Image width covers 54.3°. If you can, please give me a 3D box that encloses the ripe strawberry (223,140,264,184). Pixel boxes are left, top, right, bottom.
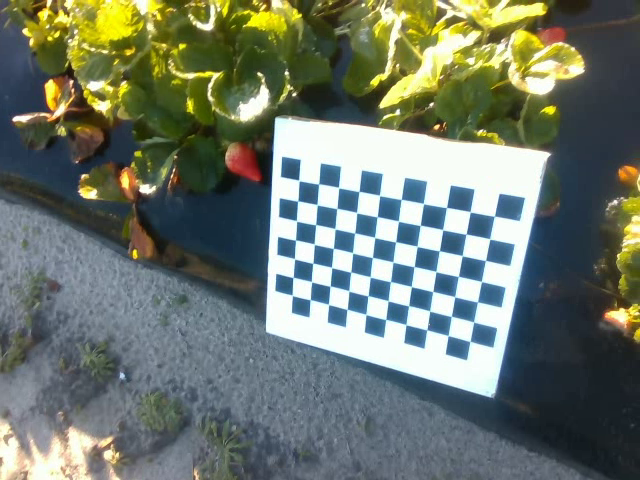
[{"bbox_3d":[-0.100,-0.095,0.787,0.040,0.065,0.040,-41,-2,27],"label":"ripe strawberry"}]
